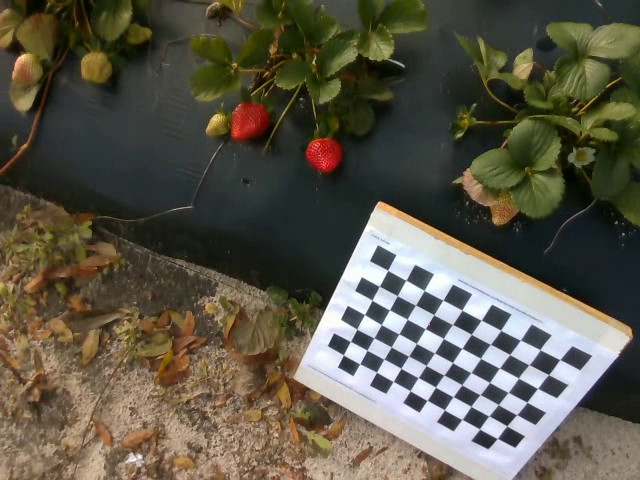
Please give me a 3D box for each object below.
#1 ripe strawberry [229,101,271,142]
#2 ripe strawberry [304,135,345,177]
[{"bbox_3d":[-0.060,-0.093,0.579,0.035,0.036,0.041,17,-34,19],"label":"ripe strawberry"},{"bbox_3d":[0.004,-0.064,0.570,0.034,0.039,0.038,24,-45,-13],"label":"ripe strawberry"}]
